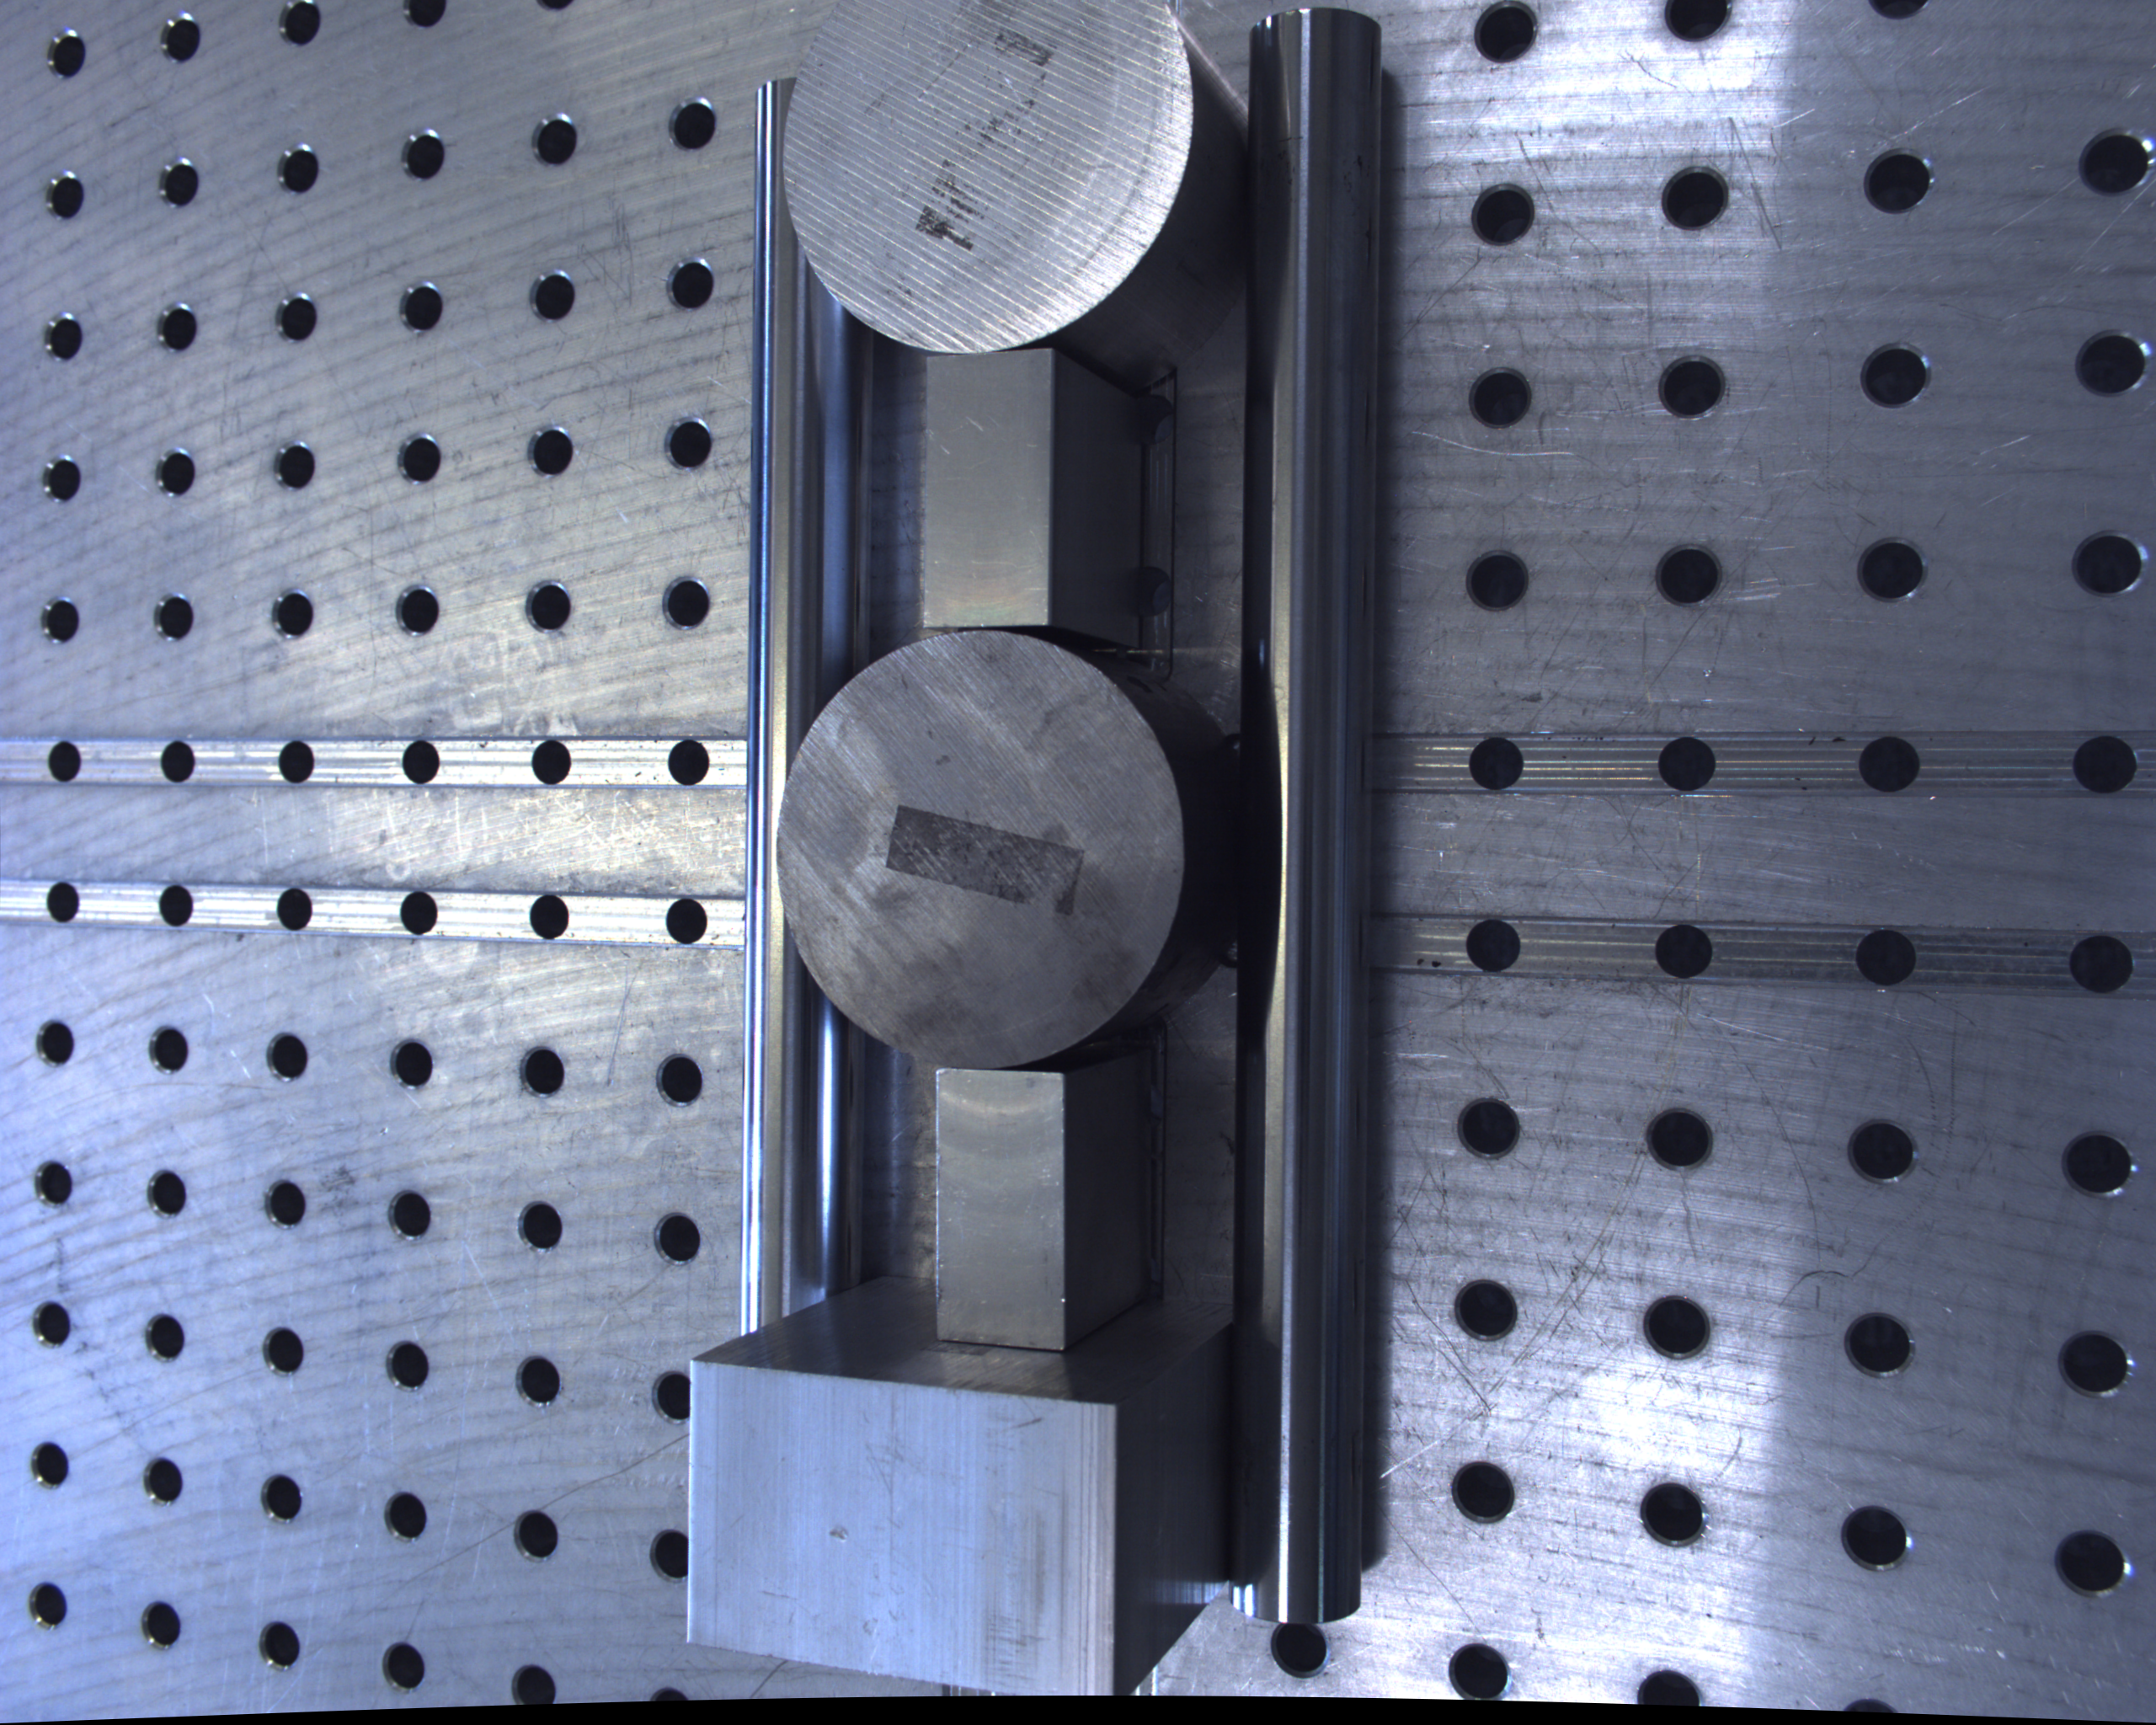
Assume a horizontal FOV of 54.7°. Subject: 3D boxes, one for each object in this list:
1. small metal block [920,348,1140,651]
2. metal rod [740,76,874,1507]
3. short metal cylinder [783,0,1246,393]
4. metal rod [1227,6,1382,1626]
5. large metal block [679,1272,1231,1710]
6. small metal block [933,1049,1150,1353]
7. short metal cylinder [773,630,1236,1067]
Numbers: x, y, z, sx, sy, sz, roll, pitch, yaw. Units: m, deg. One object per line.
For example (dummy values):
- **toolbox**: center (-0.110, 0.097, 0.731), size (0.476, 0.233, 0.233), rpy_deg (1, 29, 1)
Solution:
- **small metal block**: center (-0.008, -0.068, 0.401), size (0.025, 0.050, 0.050), rpy_deg (1, 90, 20)
- **metal rod**: center (-0.056, -0.009, 0.431), size (0.025, 0.025, 0.298), rpy_deg (1, 90, 20)
- **short metal cylinder**: center (-0.009, -0.132, 0.402), size (0.080, 0.050, 0.080), rpy_deg (0, 90, 20)
- **metal rod**: center (0.043, -0.008, 0.396), size (0.025, 0.025, 0.298), rpy_deg (1, 90, 20)
- **large metal block**: center (-0.018, 0.112, 0.390), size (0.080, 0.080, 0.050), rpy_deg (1, 91, 20)
- **small metal block**: center (-0.006, 0.063, 0.400), size (0.025, 0.050, 0.050), rpy_deg (0, 90, 20)
- **short metal cylinder**: center (-0.011, -0.003, 0.403), size (0.080, 0.050, 0.080), rpy_deg (0, 90, 20)
